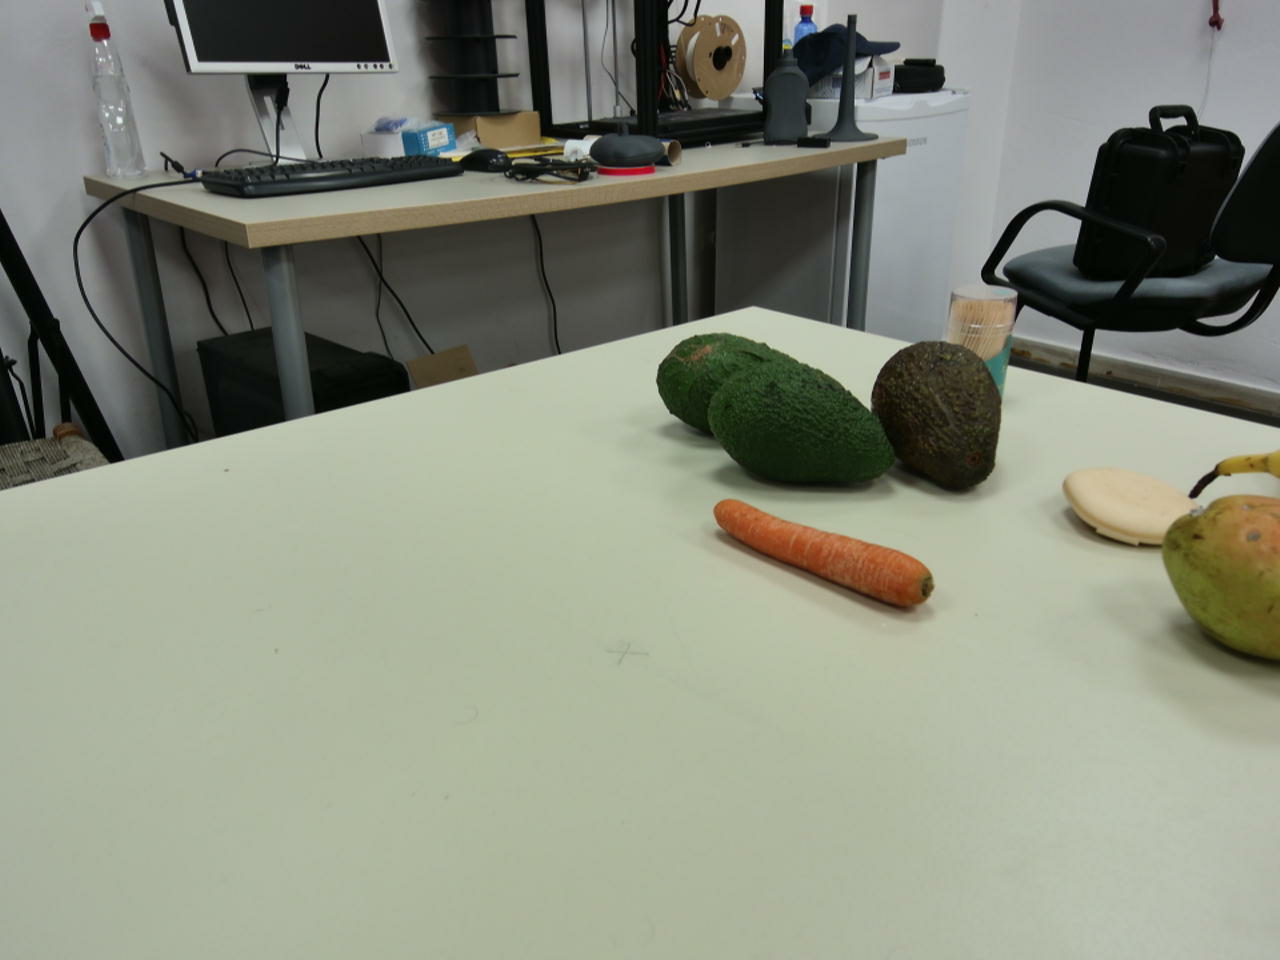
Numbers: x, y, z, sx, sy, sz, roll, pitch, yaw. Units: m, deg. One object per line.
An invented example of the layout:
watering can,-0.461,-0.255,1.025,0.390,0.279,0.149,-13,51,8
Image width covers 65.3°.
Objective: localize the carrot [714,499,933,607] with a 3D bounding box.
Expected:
carrot,0.081,0.031,0.466,0.024,0.023,0.122,-18,28,-39
